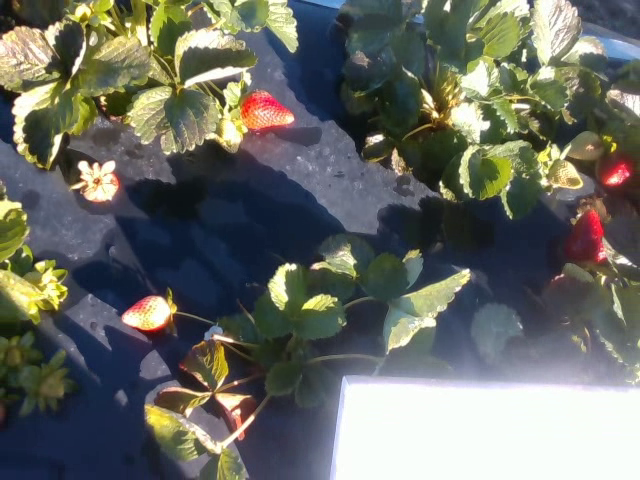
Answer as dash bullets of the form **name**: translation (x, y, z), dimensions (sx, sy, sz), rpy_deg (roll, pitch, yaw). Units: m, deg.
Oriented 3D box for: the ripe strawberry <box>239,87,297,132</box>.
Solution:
- **ripe strawberry**: translation (-0.054, -0.130, 0.631), dimensions (0.064, 0.050, 0.052), rpy_deg (14, 10, -2)
